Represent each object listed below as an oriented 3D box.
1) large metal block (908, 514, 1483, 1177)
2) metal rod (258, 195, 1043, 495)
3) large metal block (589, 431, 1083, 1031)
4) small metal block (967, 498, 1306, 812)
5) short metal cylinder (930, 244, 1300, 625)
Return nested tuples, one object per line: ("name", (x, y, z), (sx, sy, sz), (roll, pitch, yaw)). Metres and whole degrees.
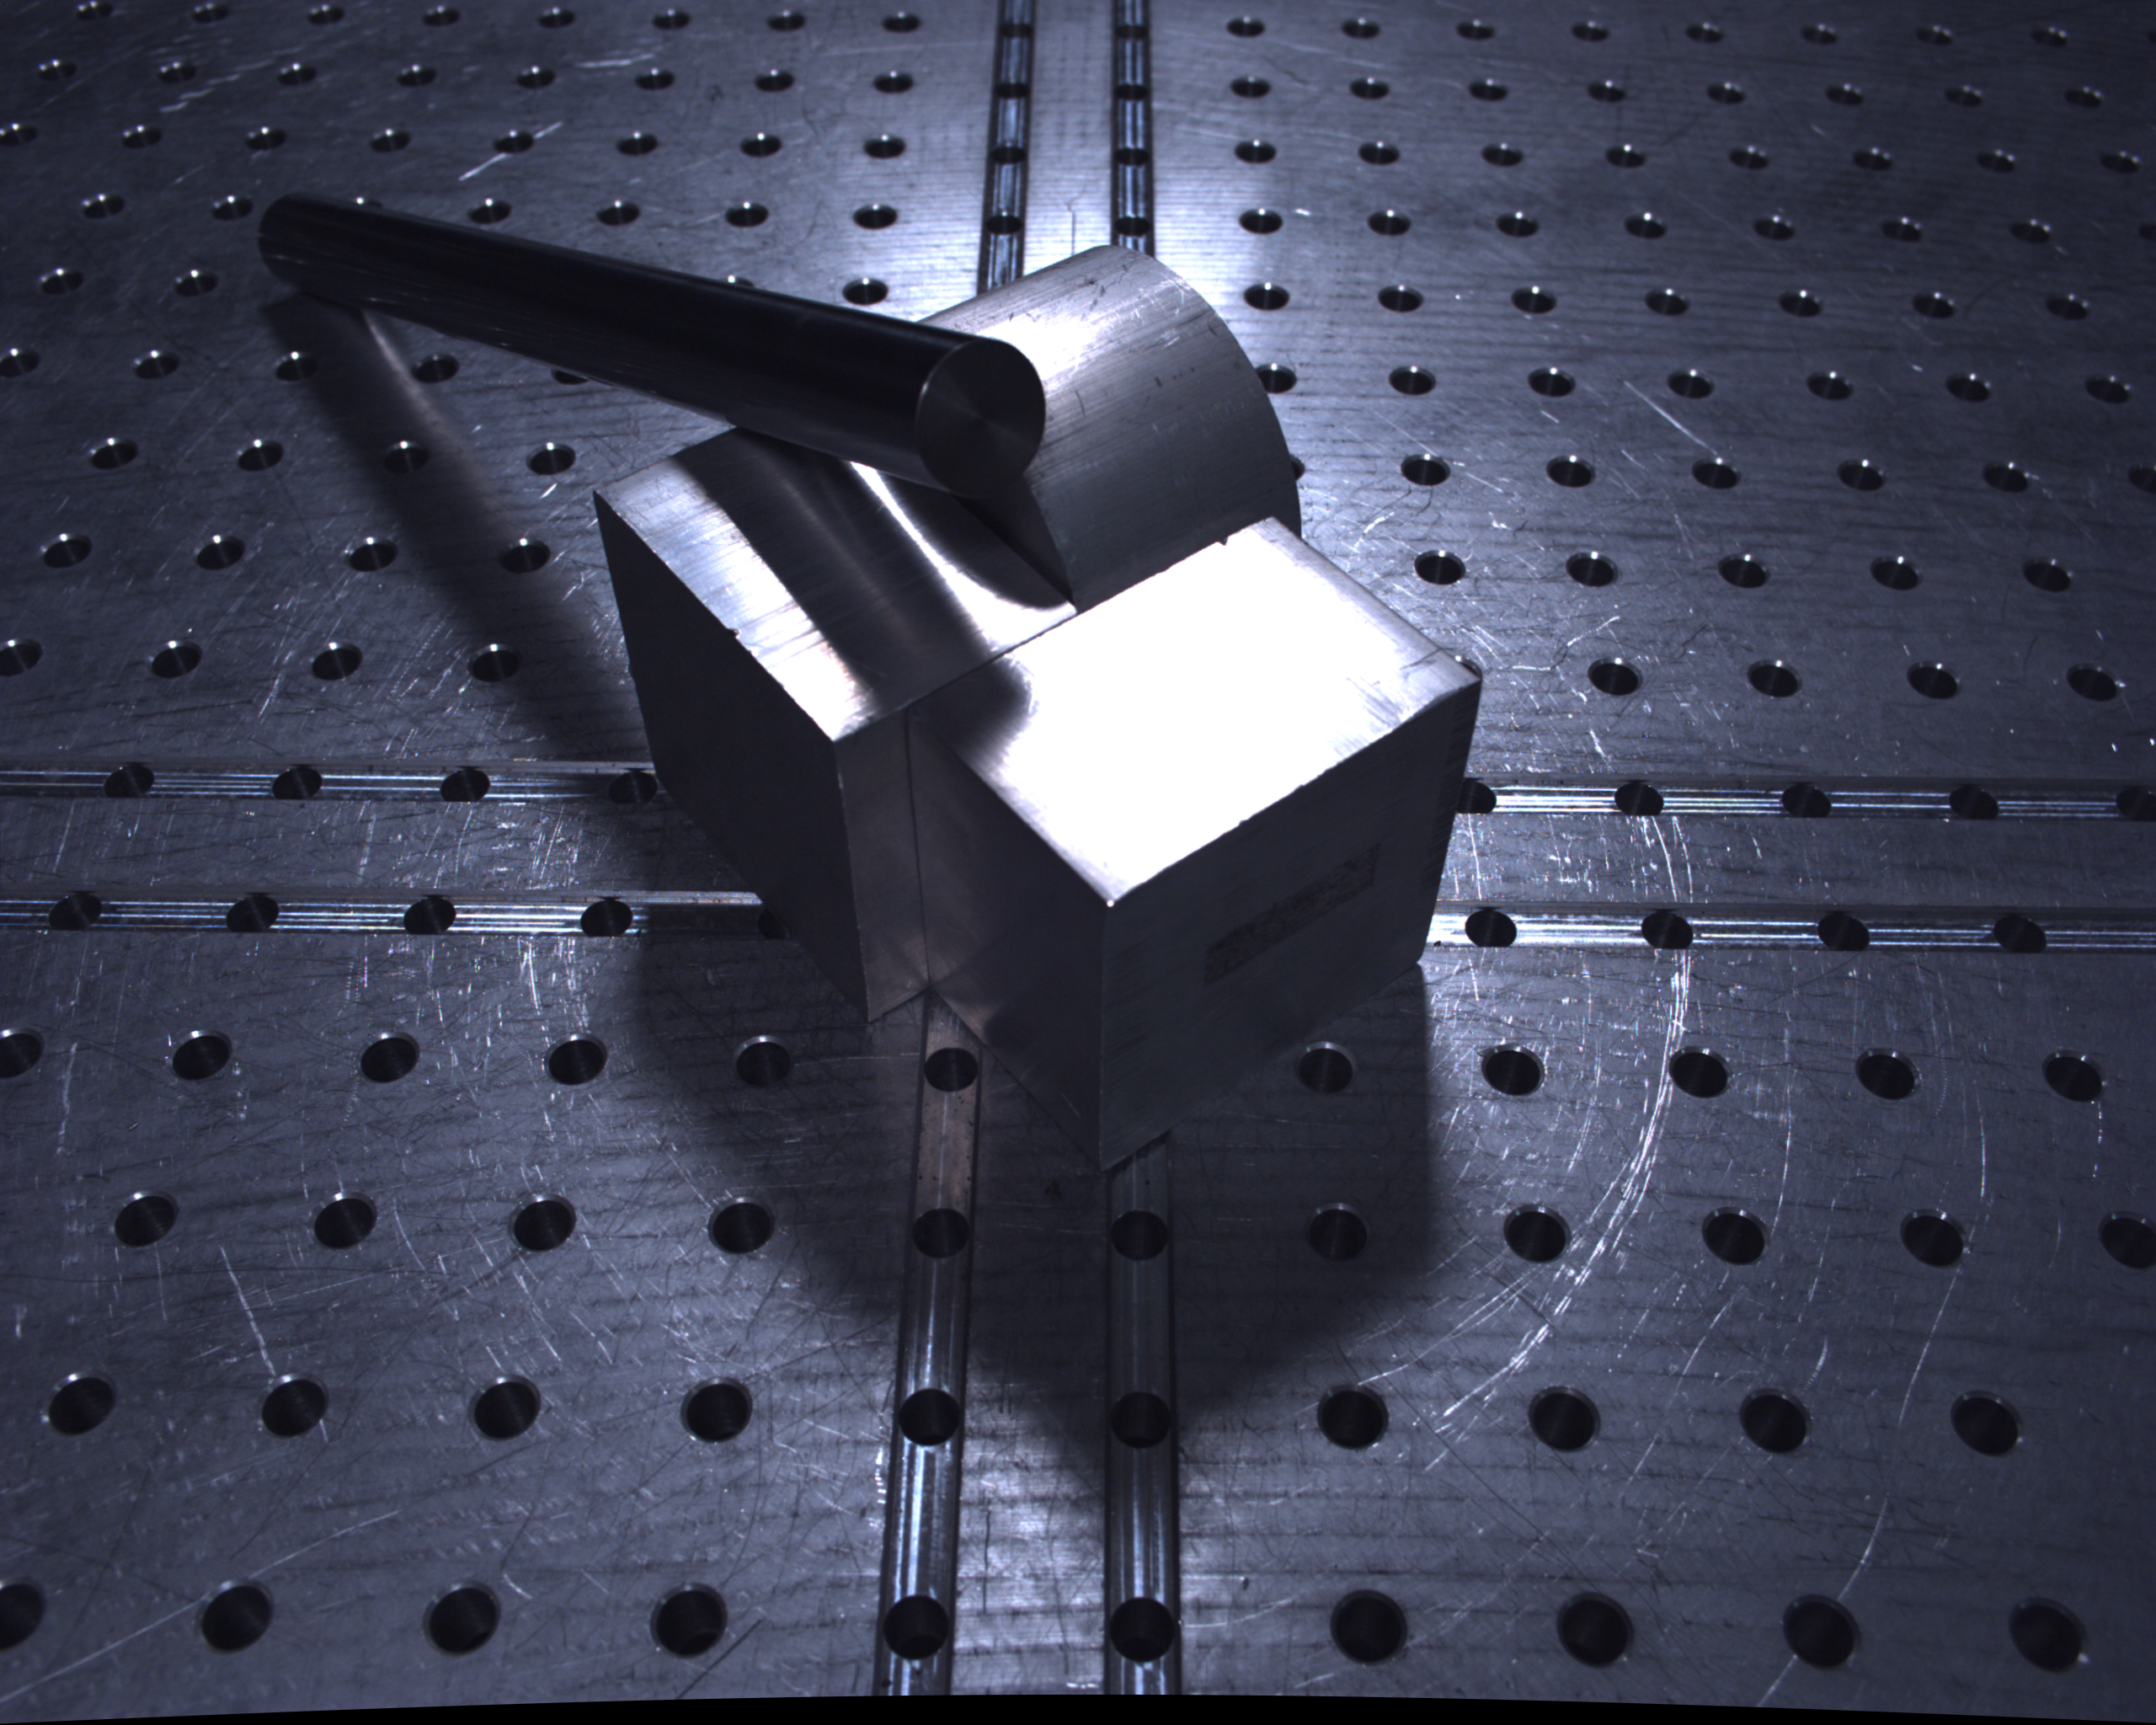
("large metal block", (0.020, -0.003, 0.372), (0.081, 0.080, 0.050), (-31, 57, -23))
("metal rod", (-0.108, -0.116, 0.436), (0.025, 0.025, 0.300), (-34, 37, -25))
("large metal block", (-0.044, -0.029, 0.397), (0.050, 0.080, 0.080), (-31, 57, -23))
("small metal block", (0.012, -0.045, 0.446), (0.050, 0.025, 0.050), (-34, 58, -26))
("short metal cylinder", (-0.003, -0.071, 0.398), (0.050, 0.080, 0.080), (-30, 56, -23))
